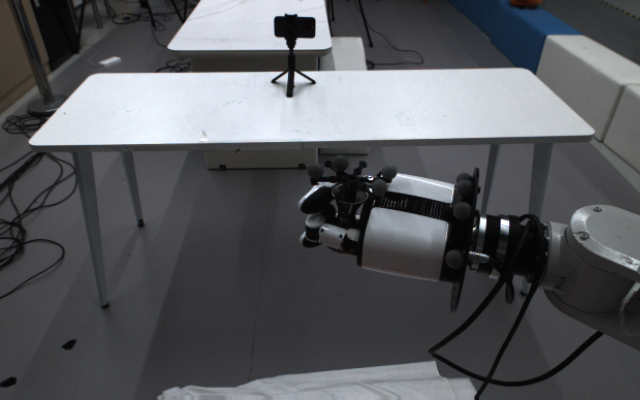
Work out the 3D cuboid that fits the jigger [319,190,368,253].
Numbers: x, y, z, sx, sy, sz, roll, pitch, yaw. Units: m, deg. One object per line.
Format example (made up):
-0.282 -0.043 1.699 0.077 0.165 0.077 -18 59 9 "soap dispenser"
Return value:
0.031 0.019 0.554 0.043 0.071 0.043 4 31 -2 "jigger"
